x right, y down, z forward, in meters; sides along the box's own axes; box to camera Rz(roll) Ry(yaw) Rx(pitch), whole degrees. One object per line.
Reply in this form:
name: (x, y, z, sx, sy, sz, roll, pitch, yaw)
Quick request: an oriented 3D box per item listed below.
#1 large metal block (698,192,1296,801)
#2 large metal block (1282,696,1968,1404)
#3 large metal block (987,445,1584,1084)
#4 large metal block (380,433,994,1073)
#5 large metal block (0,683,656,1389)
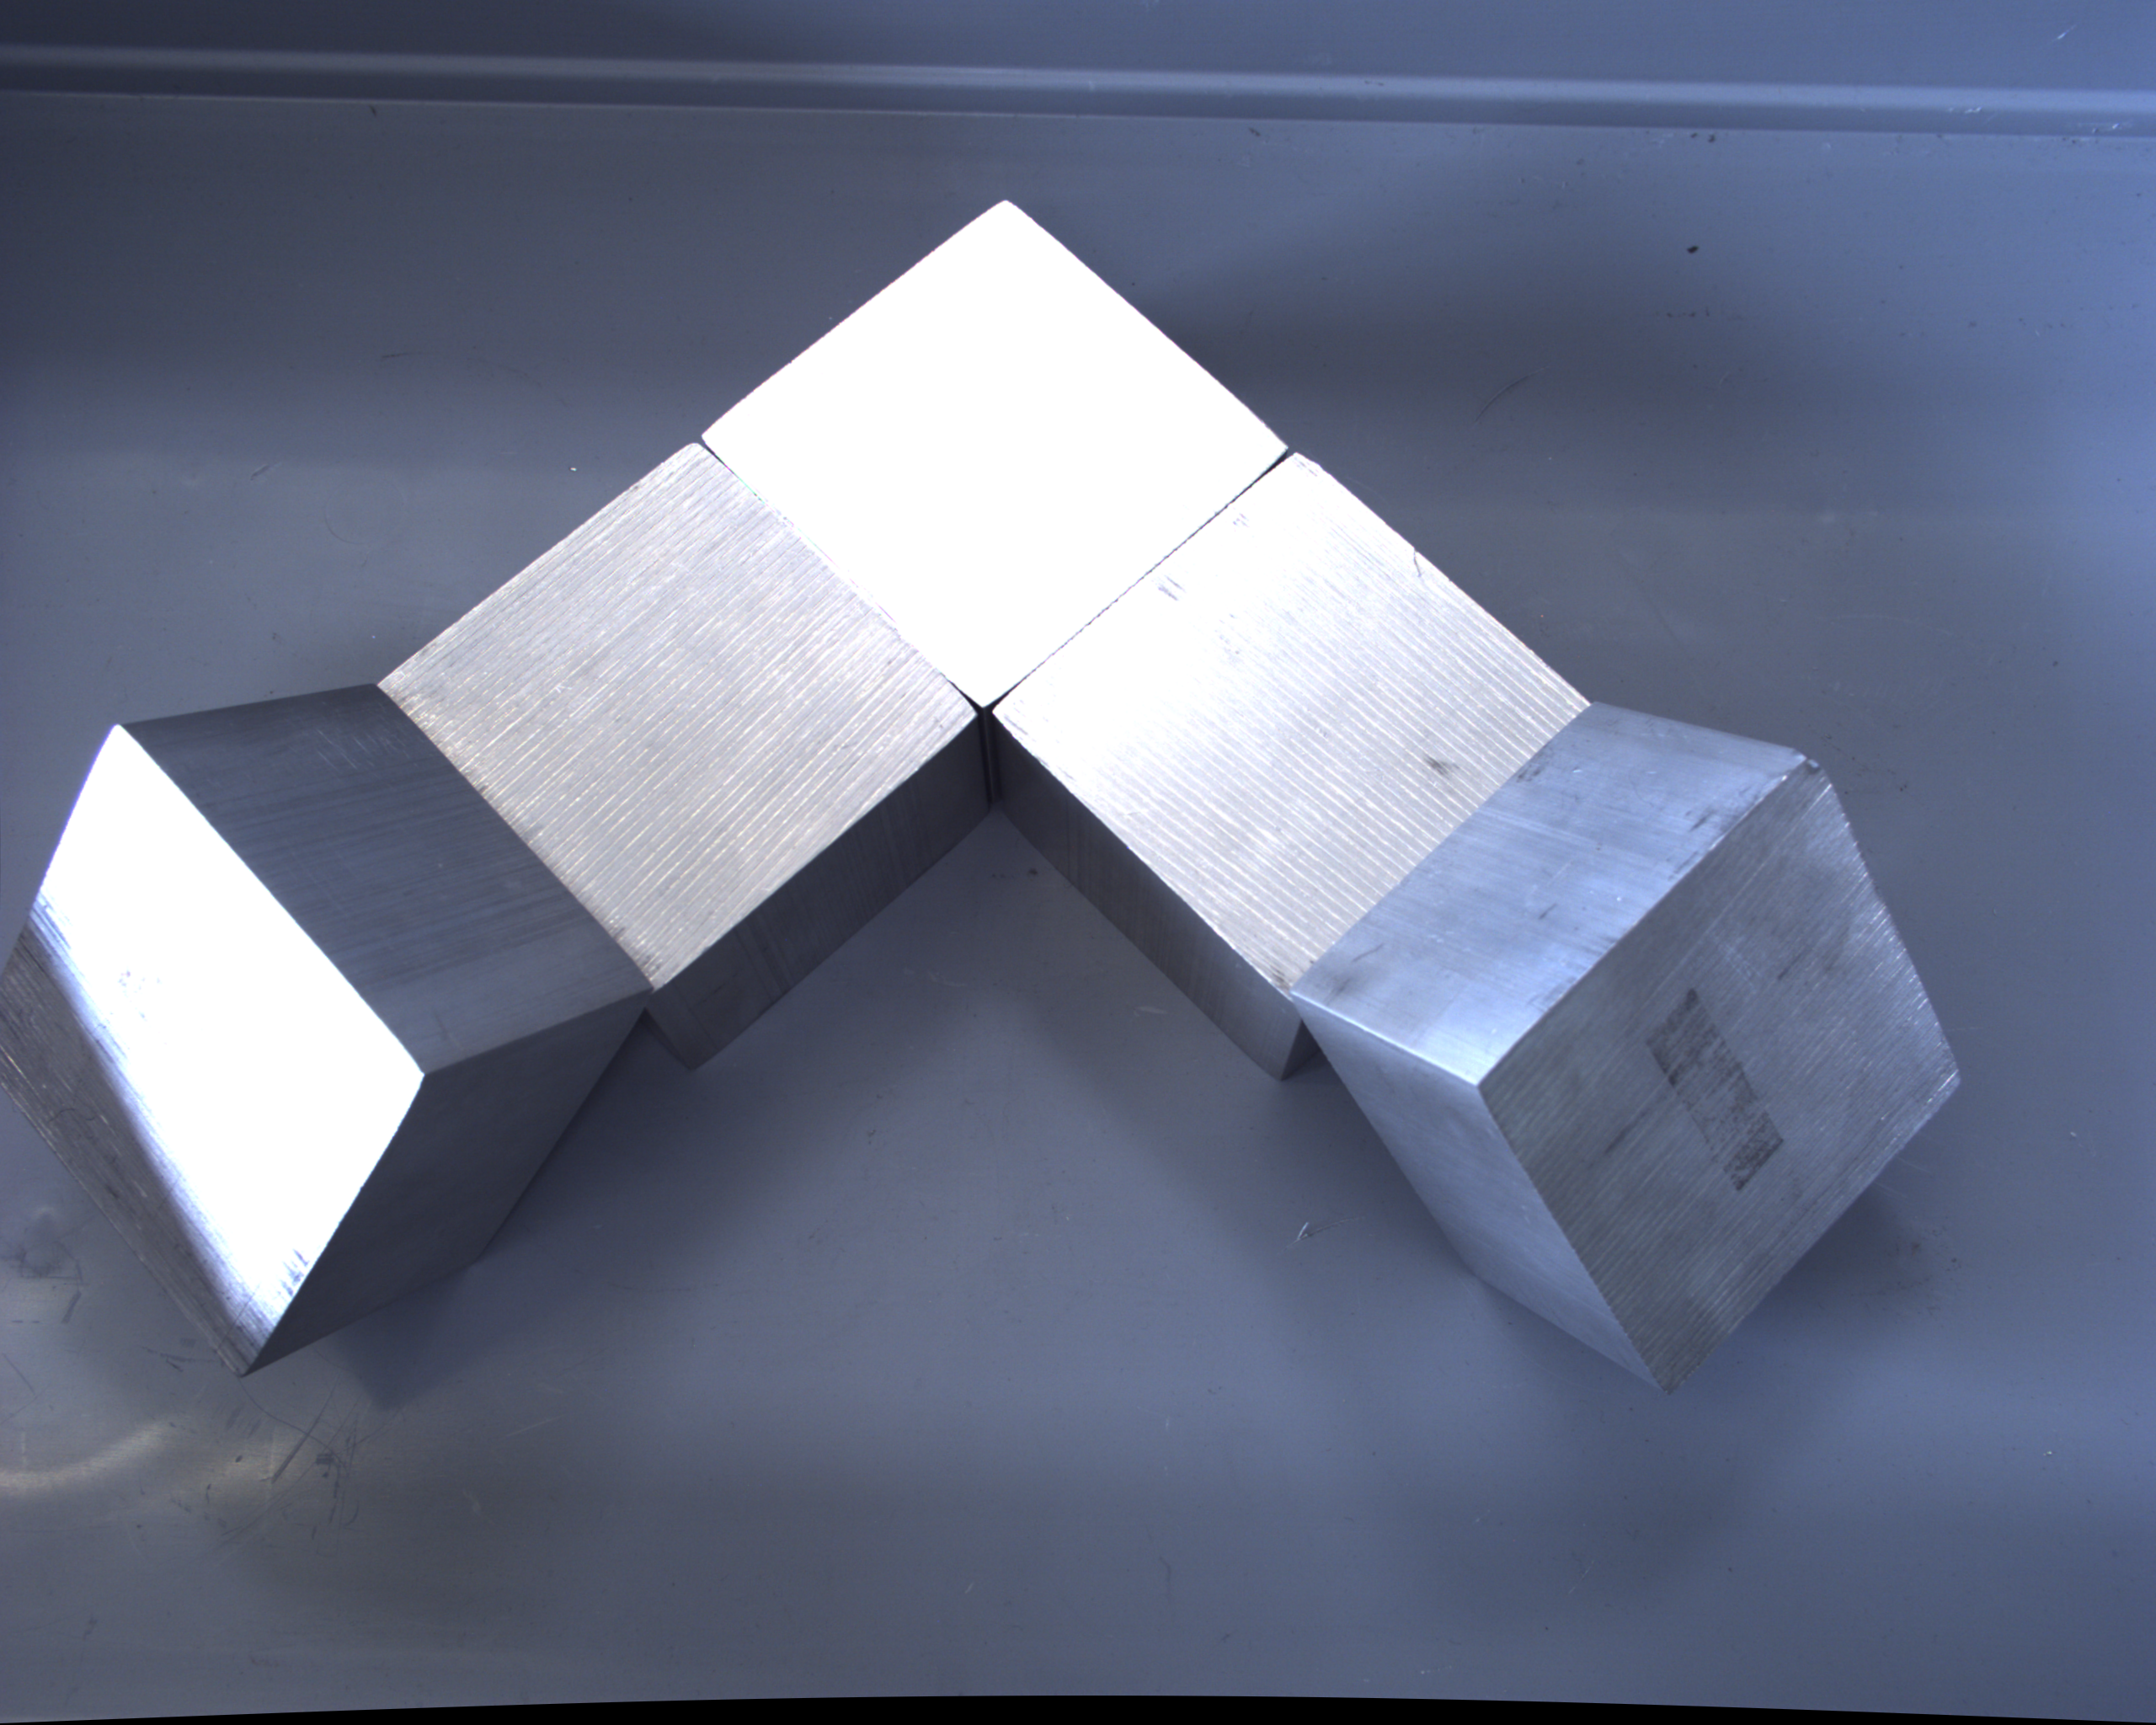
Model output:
large metal block: (-0.015, -0.073, 0.421, 0.080, 0.050, 0.080, -42, 76, -14)
large metal block: (0.096, 0.030, 0.361, 0.080, 0.050, 0.080, -42, 119, -14)
large metal block: (0.041, -0.018, 0.401, 0.080, 0.050, 0.080, -42, 76, -14)
large metal block: (-0.074, -0.020, 0.401, 0.080, 0.050, 0.080, -42, 76, -14)
large metal block: (-0.133, 0.028, 0.360, 0.080, 0.050, 0.080, 44, 118, 14)
